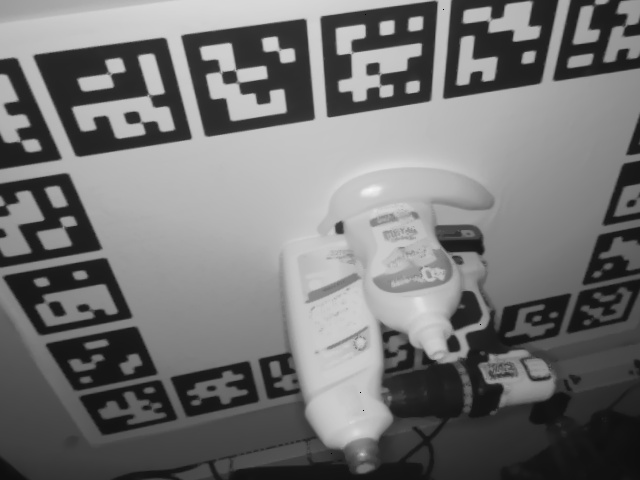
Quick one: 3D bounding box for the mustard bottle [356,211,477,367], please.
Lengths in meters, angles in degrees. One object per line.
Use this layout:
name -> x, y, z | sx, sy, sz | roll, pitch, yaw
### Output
mustard bottle -> 0.100, 0.045, 0.678 | 0.097, 0.192, 0.058 | -8, 131, -6

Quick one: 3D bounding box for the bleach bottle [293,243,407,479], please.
bleach bottle -> 0.038, 0.116, 0.689 | 0.103, 0.252, 0.067 | -7, 136, -8

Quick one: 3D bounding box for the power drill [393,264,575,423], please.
power drill -> 0.147, 0.105, 0.714 | 0.186, 0.188, 0.056 | 1, 130, -13

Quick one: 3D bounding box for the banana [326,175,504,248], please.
banana -> 0.103, -0.035, 0.726 | 0.199, 0.039, 0.073 | -7, 129, -12
